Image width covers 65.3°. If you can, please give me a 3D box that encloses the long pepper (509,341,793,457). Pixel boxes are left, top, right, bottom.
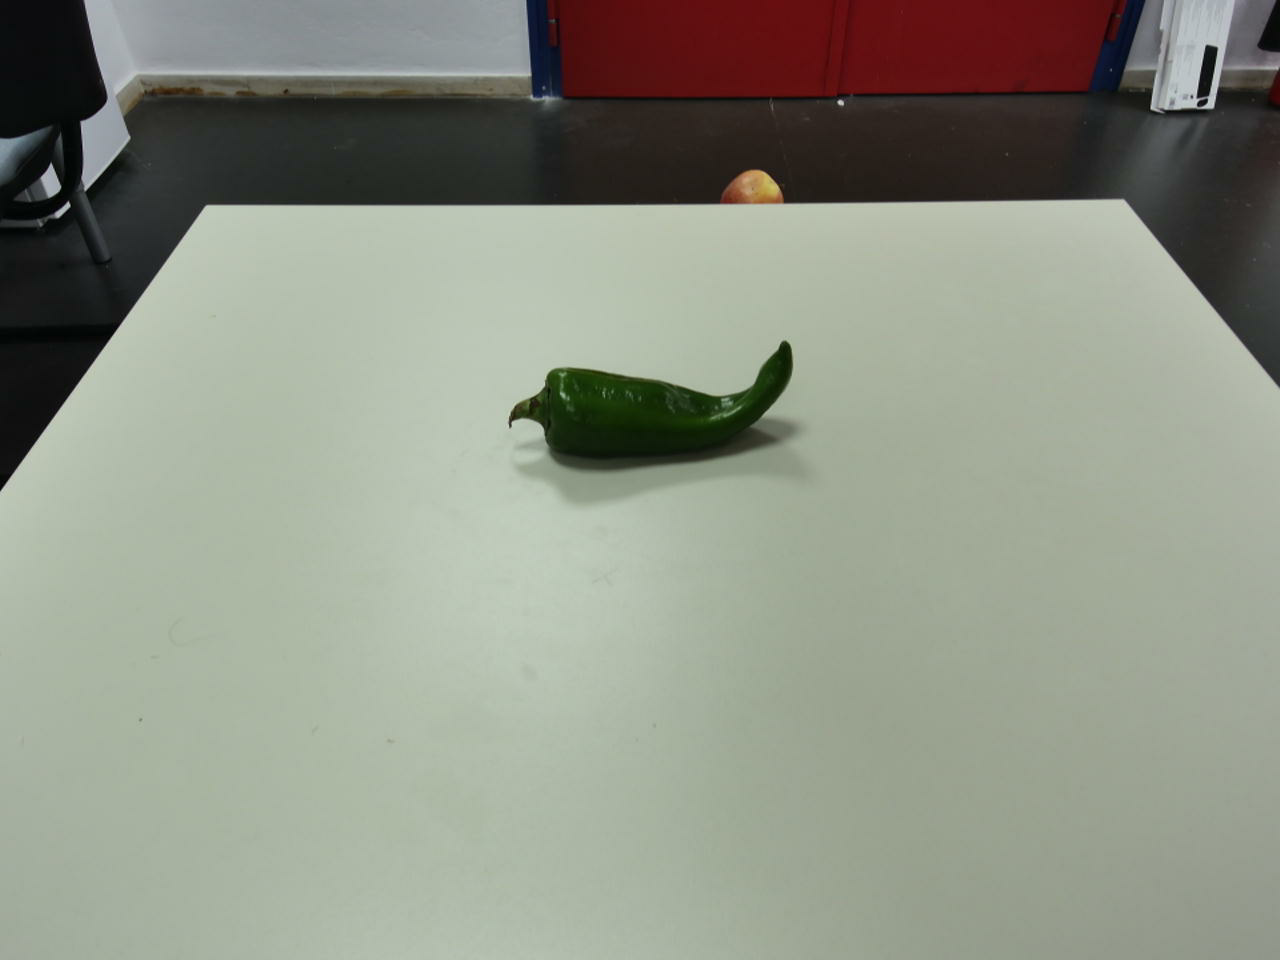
[{"bbox_3d":[0.007,-0.049,0.609,0.175,0.065,0.058,-1,39,-1],"label":"long pepper"}]
